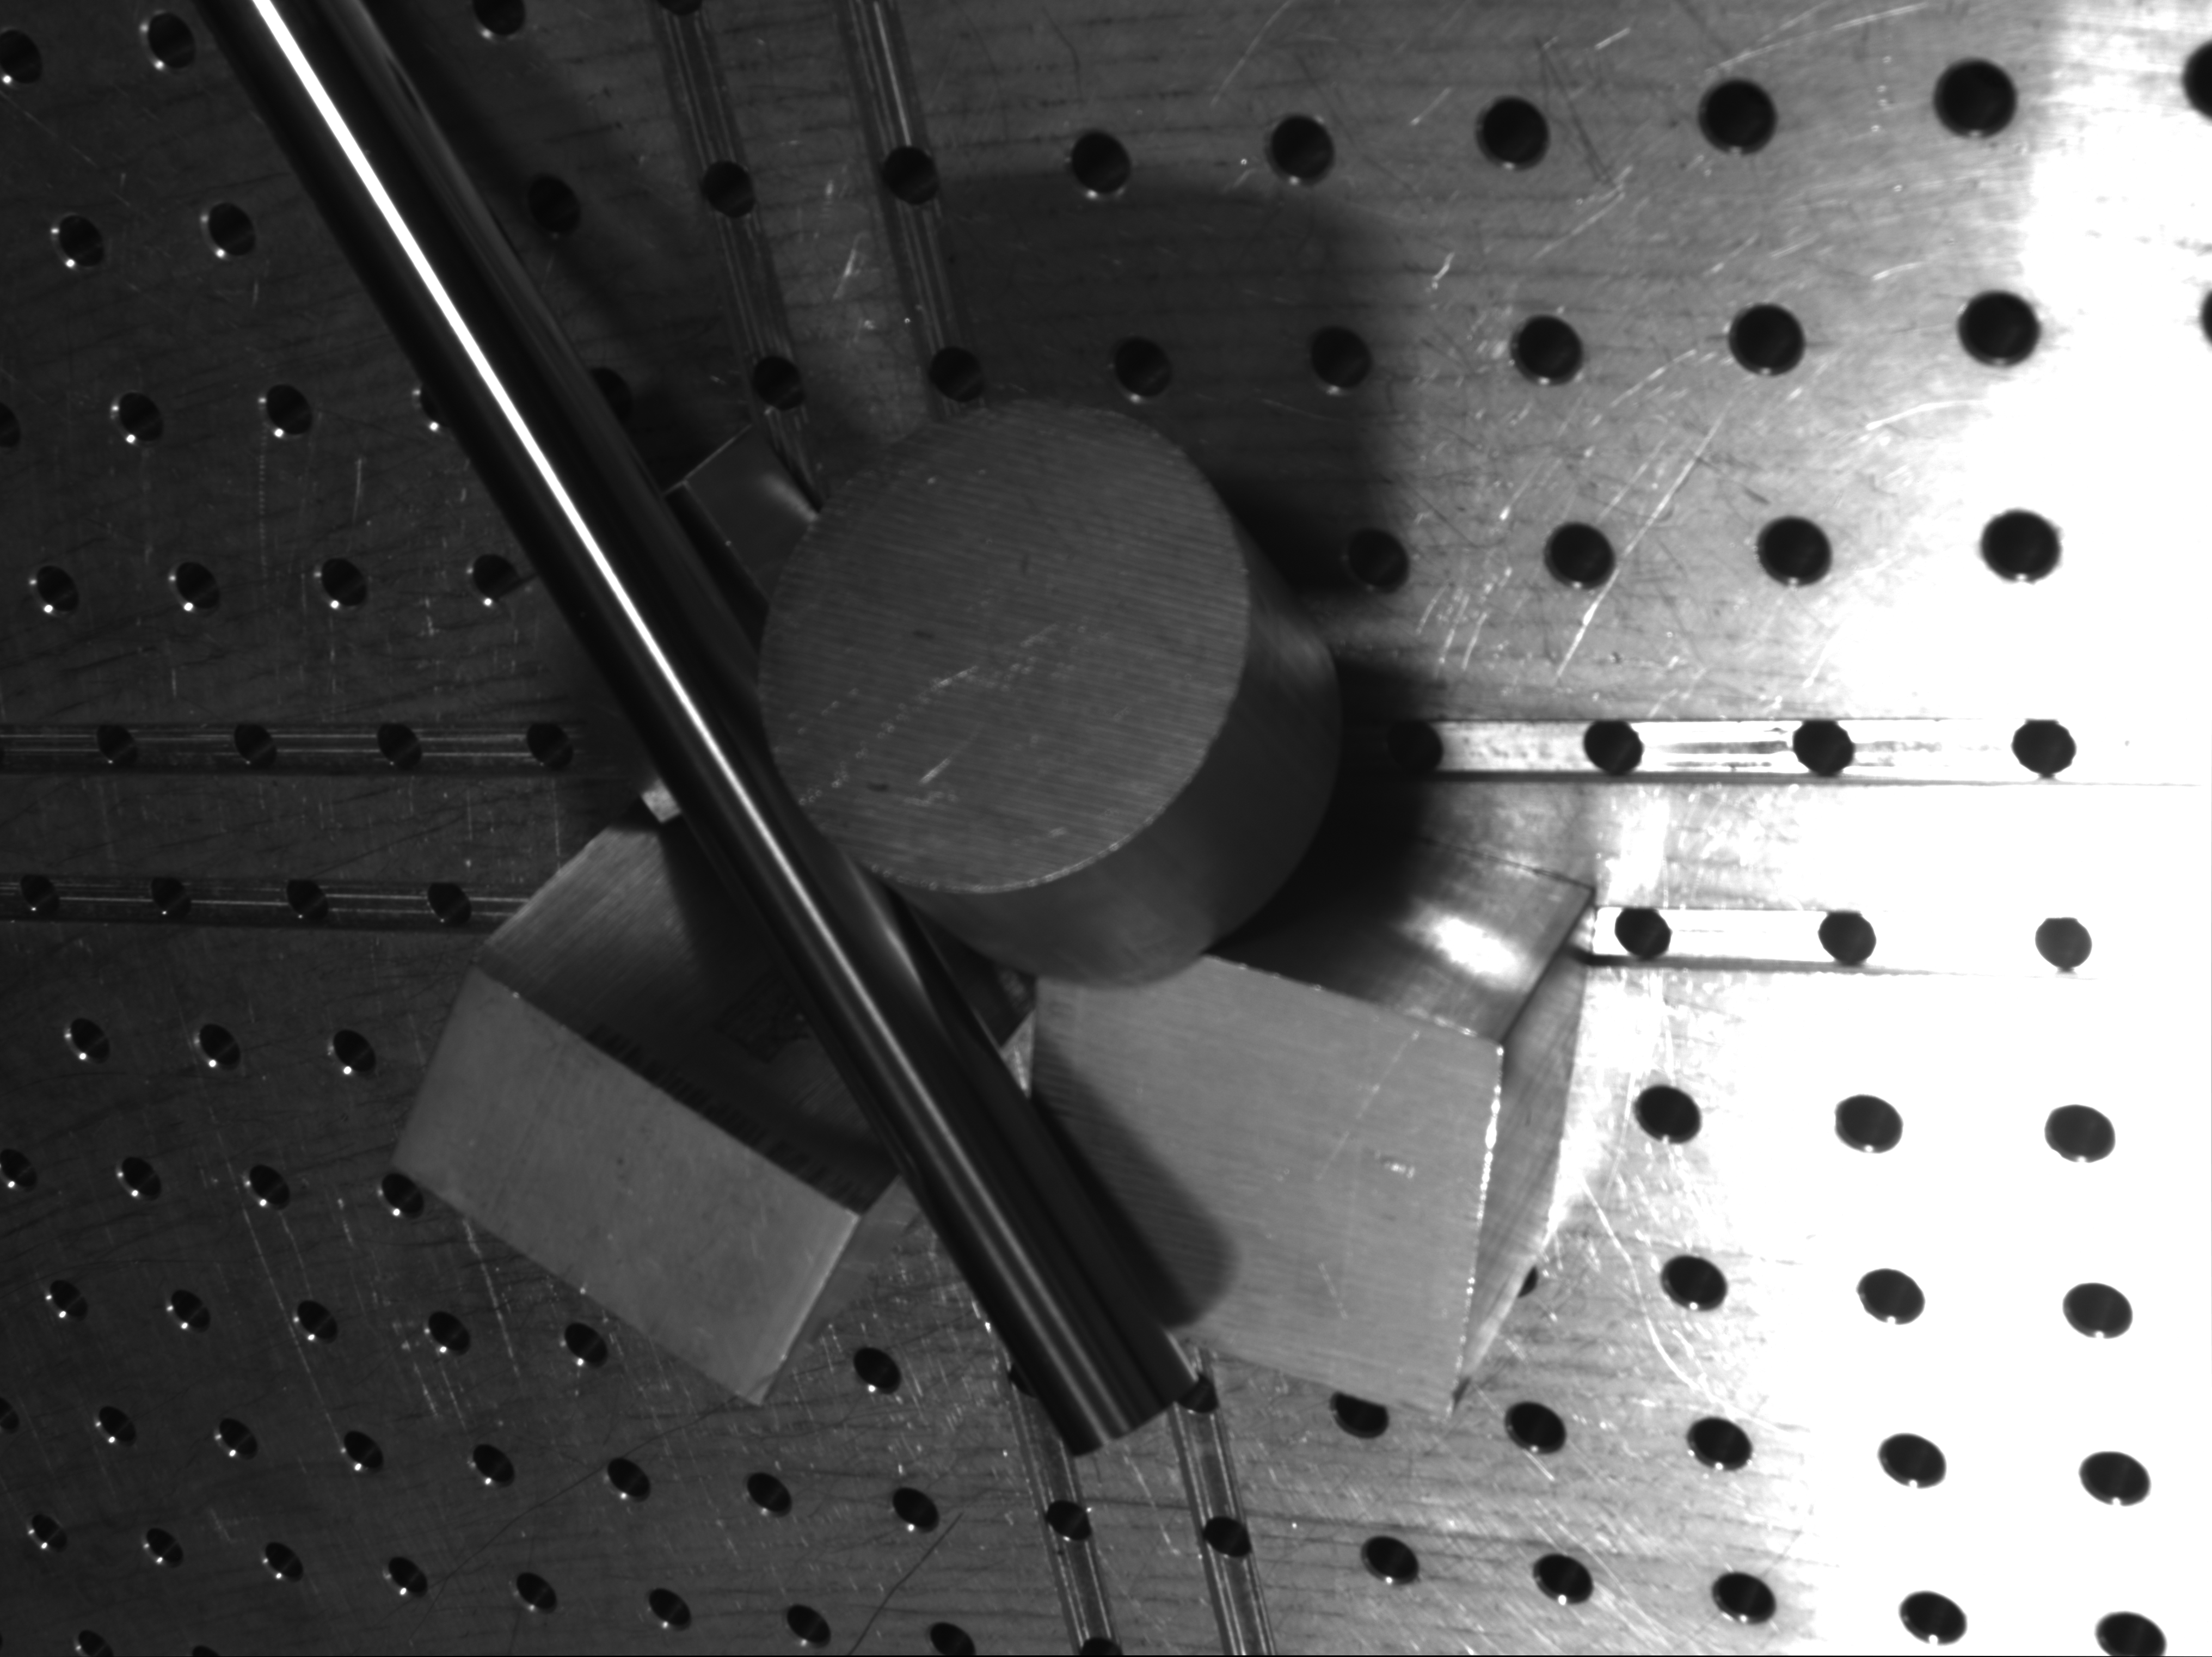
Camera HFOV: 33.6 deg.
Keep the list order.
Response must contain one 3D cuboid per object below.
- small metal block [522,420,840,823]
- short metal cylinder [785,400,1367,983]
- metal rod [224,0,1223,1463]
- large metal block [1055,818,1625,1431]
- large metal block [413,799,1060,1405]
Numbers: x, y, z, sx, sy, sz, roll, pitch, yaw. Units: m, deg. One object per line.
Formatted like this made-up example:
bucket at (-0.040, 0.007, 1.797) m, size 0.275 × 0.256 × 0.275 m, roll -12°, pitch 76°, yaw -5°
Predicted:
small metal block at (-0.066, -0.036, 0.646) m, size 0.050 × 0.025 × 0.050 m, roll -27°, pitch 104°, yaw 36°
short metal cylinder at (-0.004, -0.021, 0.580) m, size 0.080 × 0.080 × 0.050 m, roll 8°, pitch 165°, yaw 22°
metal rod at (-0.068, -0.029, 0.612) m, size 0.025 × 0.025 × 0.300 m, roll -31°, pitch 90°, yaw 36°
large metal block at (0.038, 0.045, 0.626) m, size 0.080 × 0.050 × 0.080 m, roll 16°, pitch 124°, yaw 18°
large metal block at (-0.063, 0.042, 0.655) m, size 0.080 × 0.080 × 0.050 m, roll 32°, pitch 128°, yaw 6°
